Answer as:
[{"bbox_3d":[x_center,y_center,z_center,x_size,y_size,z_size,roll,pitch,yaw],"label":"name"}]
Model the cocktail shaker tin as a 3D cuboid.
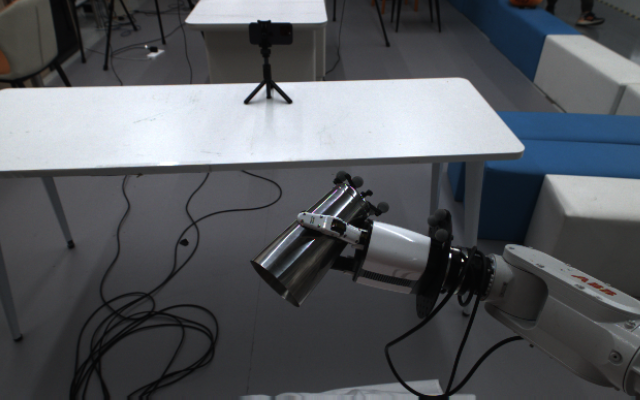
[{"bbox_3d":[-0.006,0.052,0.683,0.093,0.093,0.170,32,66,35],"label":"cocktail shaker tin"}]
